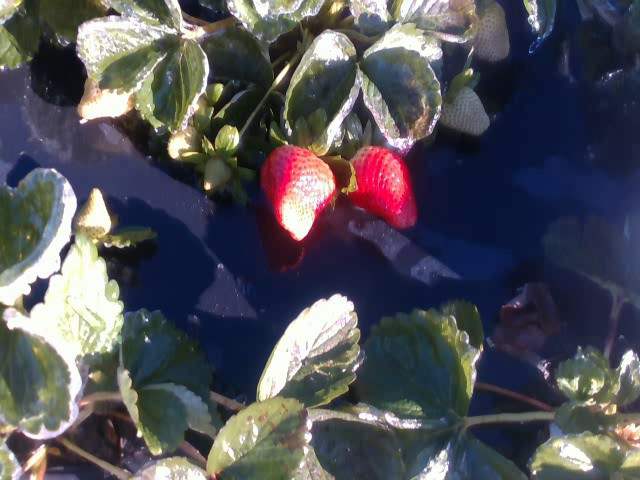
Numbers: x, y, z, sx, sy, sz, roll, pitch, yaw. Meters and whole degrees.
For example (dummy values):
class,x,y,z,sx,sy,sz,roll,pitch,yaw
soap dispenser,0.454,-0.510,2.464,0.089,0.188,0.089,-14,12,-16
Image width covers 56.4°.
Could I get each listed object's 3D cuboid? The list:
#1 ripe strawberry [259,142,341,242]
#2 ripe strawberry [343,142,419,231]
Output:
class,x,y,z,sx,sy,sz,roll,pitch,yaw
ripe strawberry,-0.011,-0.027,0.373,0.052,0.070,0.040,15,-16,-20
ripe strawberry,0.043,-0.036,0.378,0.043,0.059,0.040,-35,-1,-15
